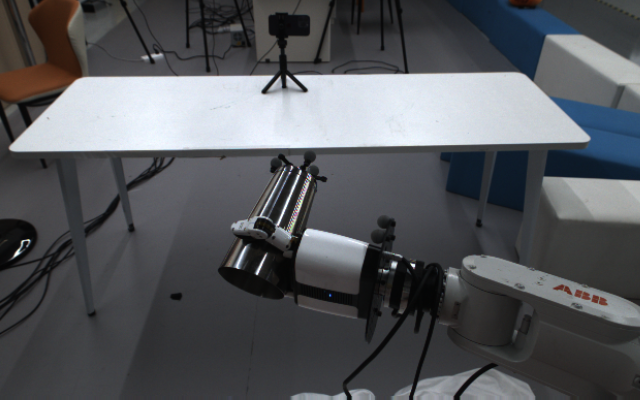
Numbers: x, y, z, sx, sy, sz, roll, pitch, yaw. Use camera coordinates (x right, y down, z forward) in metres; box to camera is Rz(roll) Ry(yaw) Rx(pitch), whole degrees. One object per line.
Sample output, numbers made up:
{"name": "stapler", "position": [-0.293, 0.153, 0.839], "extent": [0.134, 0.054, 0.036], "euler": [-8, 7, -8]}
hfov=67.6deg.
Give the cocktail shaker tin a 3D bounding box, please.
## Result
{"name": "cocktail shaker tin", "position": [-0.064, 0.039, 0.661], "extent": [0.093, 0.093, 0.170], "euler": [14, 61, 16]}
